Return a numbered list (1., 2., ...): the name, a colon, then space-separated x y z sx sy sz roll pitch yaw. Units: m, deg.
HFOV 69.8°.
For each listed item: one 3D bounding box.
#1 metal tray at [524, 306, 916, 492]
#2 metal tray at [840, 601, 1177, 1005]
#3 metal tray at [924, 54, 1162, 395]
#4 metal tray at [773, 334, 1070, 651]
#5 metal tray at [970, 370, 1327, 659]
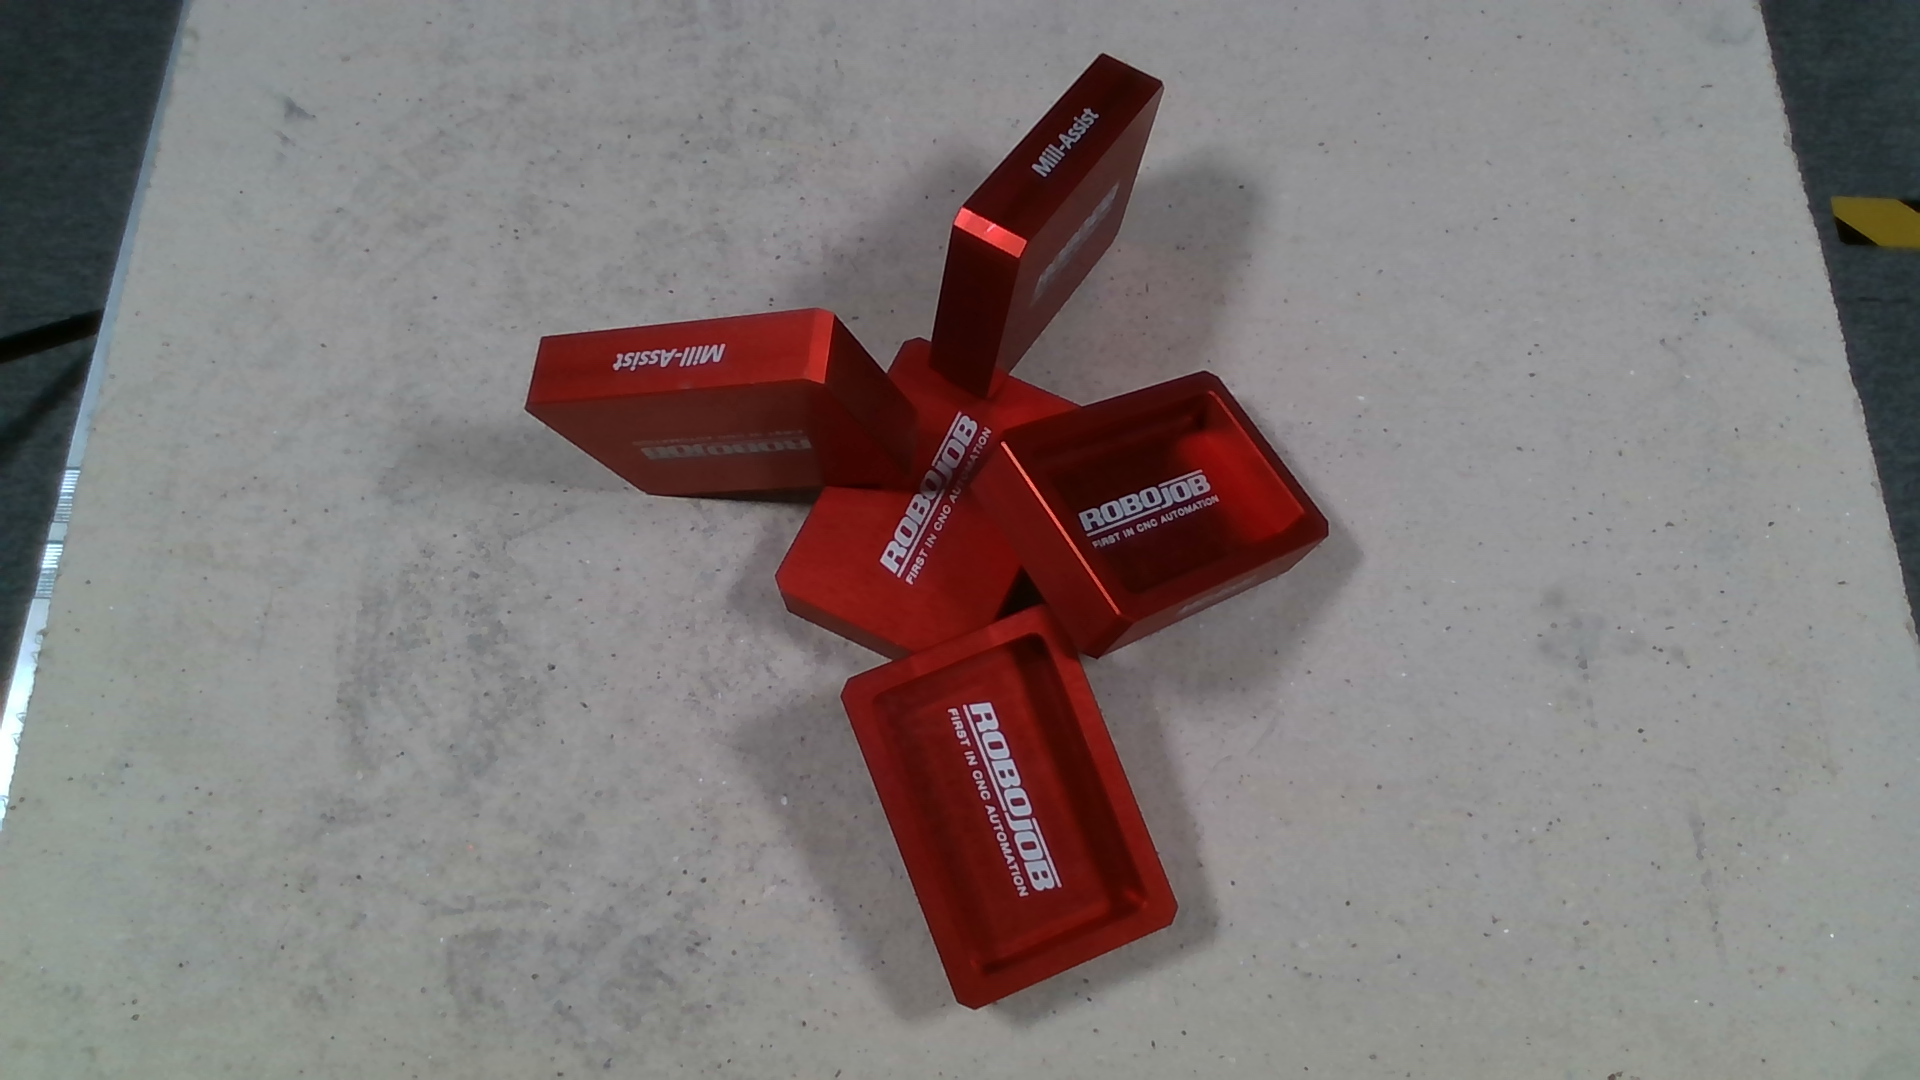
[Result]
1. metal tray: -0.094 -0.053 0.552 0.130 0.090 0.030 -2 68 21
2. metal tray: 0.017 0.099 0.533 0.090 0.030 0.130 -21 86 -8
3. metal tray: 0.035 -0.134 0.585 0.030 0.090 0.130 30 56 10
4. metal tray: -0.010 -0.014 0.590 0.090 0.030 0.130 24 72 8
5. metal tray: 0.079 -0.015 0.560 0.130 0.030 0.090 -20 69 -38
